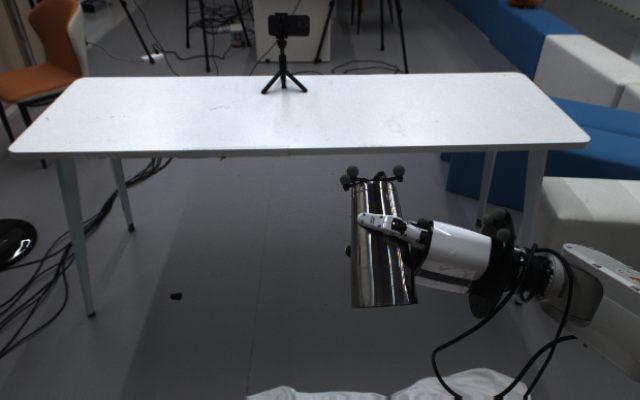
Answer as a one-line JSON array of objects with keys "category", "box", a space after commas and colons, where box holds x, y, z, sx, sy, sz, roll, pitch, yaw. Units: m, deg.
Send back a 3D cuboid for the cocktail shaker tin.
[{"category": "cocktail shaker tin", "box": [0.085, 0.064, 0.685, 0.093, 0.093, 0.170, -3, 76, -8]}]
